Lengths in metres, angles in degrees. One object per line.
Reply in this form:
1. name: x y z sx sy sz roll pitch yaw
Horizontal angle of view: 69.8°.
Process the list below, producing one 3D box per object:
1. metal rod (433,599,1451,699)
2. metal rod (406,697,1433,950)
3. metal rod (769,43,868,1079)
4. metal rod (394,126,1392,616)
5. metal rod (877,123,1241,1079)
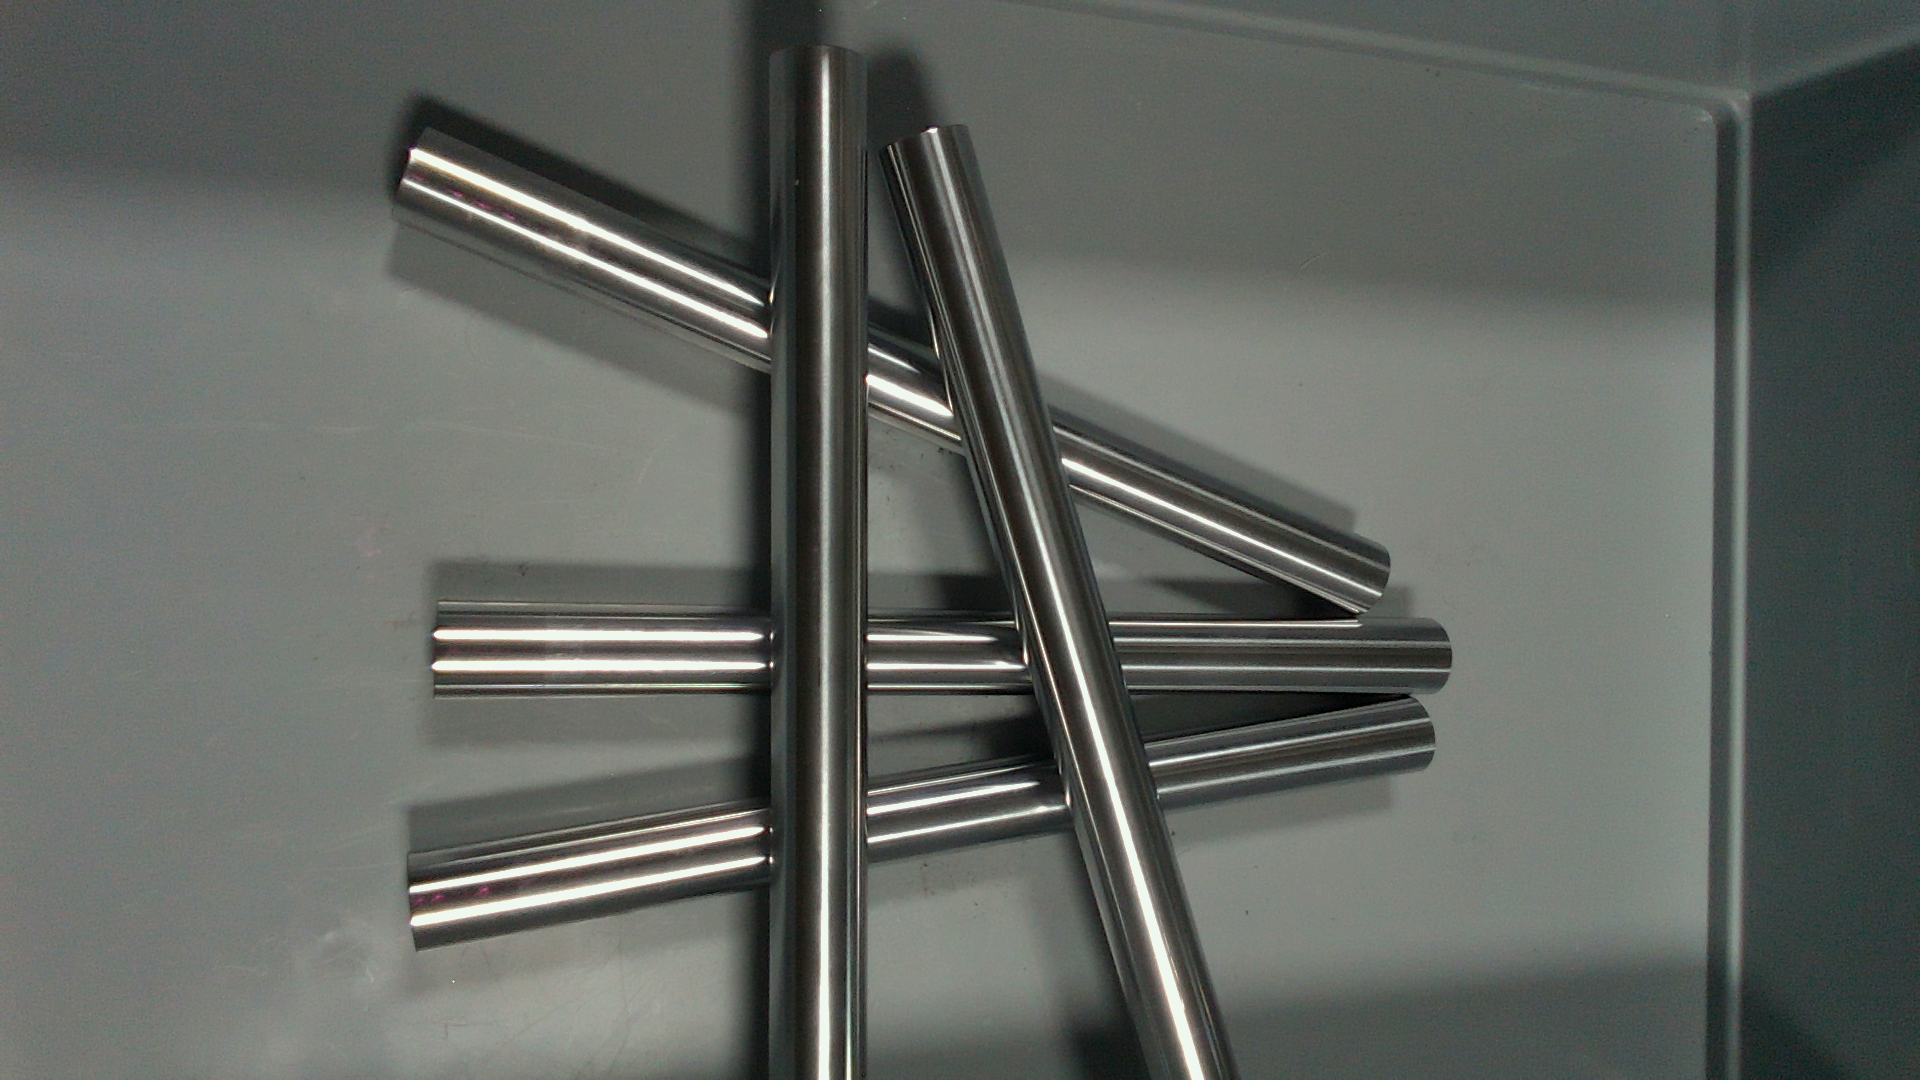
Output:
1. metal rod: 0.010 0.032 0.395 0.301 0.025 0.025 2 89 -20
2. metal rod: 0.004 0.076 0.394 0.301 0.025 0.025 -6 92 -20
3. metal rod: -0.036 0.028 0.352 0.025 0.025 0.300 0 90 -20
4. metal rod: -0.003 -0.039 0.390 0.301 0.025 0.025 21 83 -19
5. metal rod: 0.033 0.038 0.378 0.025 0.025 0.300 -19 96 -19
